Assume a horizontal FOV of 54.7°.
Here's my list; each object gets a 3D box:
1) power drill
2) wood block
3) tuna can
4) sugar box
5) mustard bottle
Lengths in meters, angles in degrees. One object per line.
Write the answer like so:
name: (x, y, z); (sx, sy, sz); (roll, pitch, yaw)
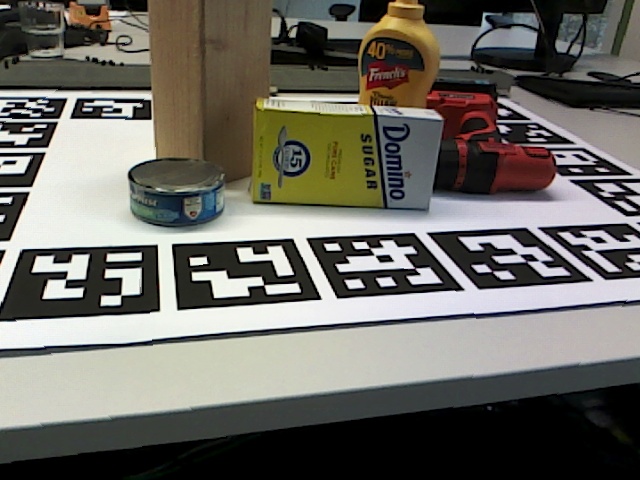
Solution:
power drill: (0.146, -0.117, 0.718); (0.184, 0.057, 0.187); (4, 37, -2)
wood block: (-0.110, -0.168, 0.637); (0.090, 0.206, 0.090); (-20, 40, -37)
tuna can: (-0.132, -0.049, 0.572); (0.085, 0.033, 0.086); (5, 30, -3)
sugar box: (0.029, -0.081, 0.605); (0.176, 0.093, 0.045); (5, 26, -4)
mustard bottle: (0.094, -0.191, 0.721); (0.097, 0.191, 0.058); (25, 36, 29)
